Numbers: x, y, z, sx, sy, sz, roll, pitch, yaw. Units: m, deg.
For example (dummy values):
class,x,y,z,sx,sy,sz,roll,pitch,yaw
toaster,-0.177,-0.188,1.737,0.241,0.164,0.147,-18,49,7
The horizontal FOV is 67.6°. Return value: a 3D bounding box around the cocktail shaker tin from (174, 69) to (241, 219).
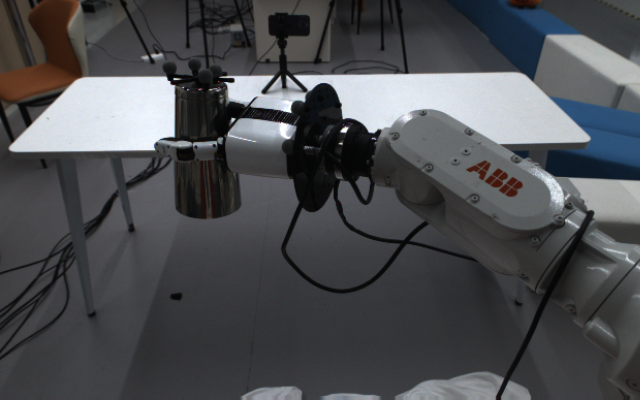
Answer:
class,x,y,z,sx,sy,sz,roll,pitch,yaw
cocktail shaker tin,-0.154,-0.071,0.652,0.093,0.170,0.093,2,26,-1
